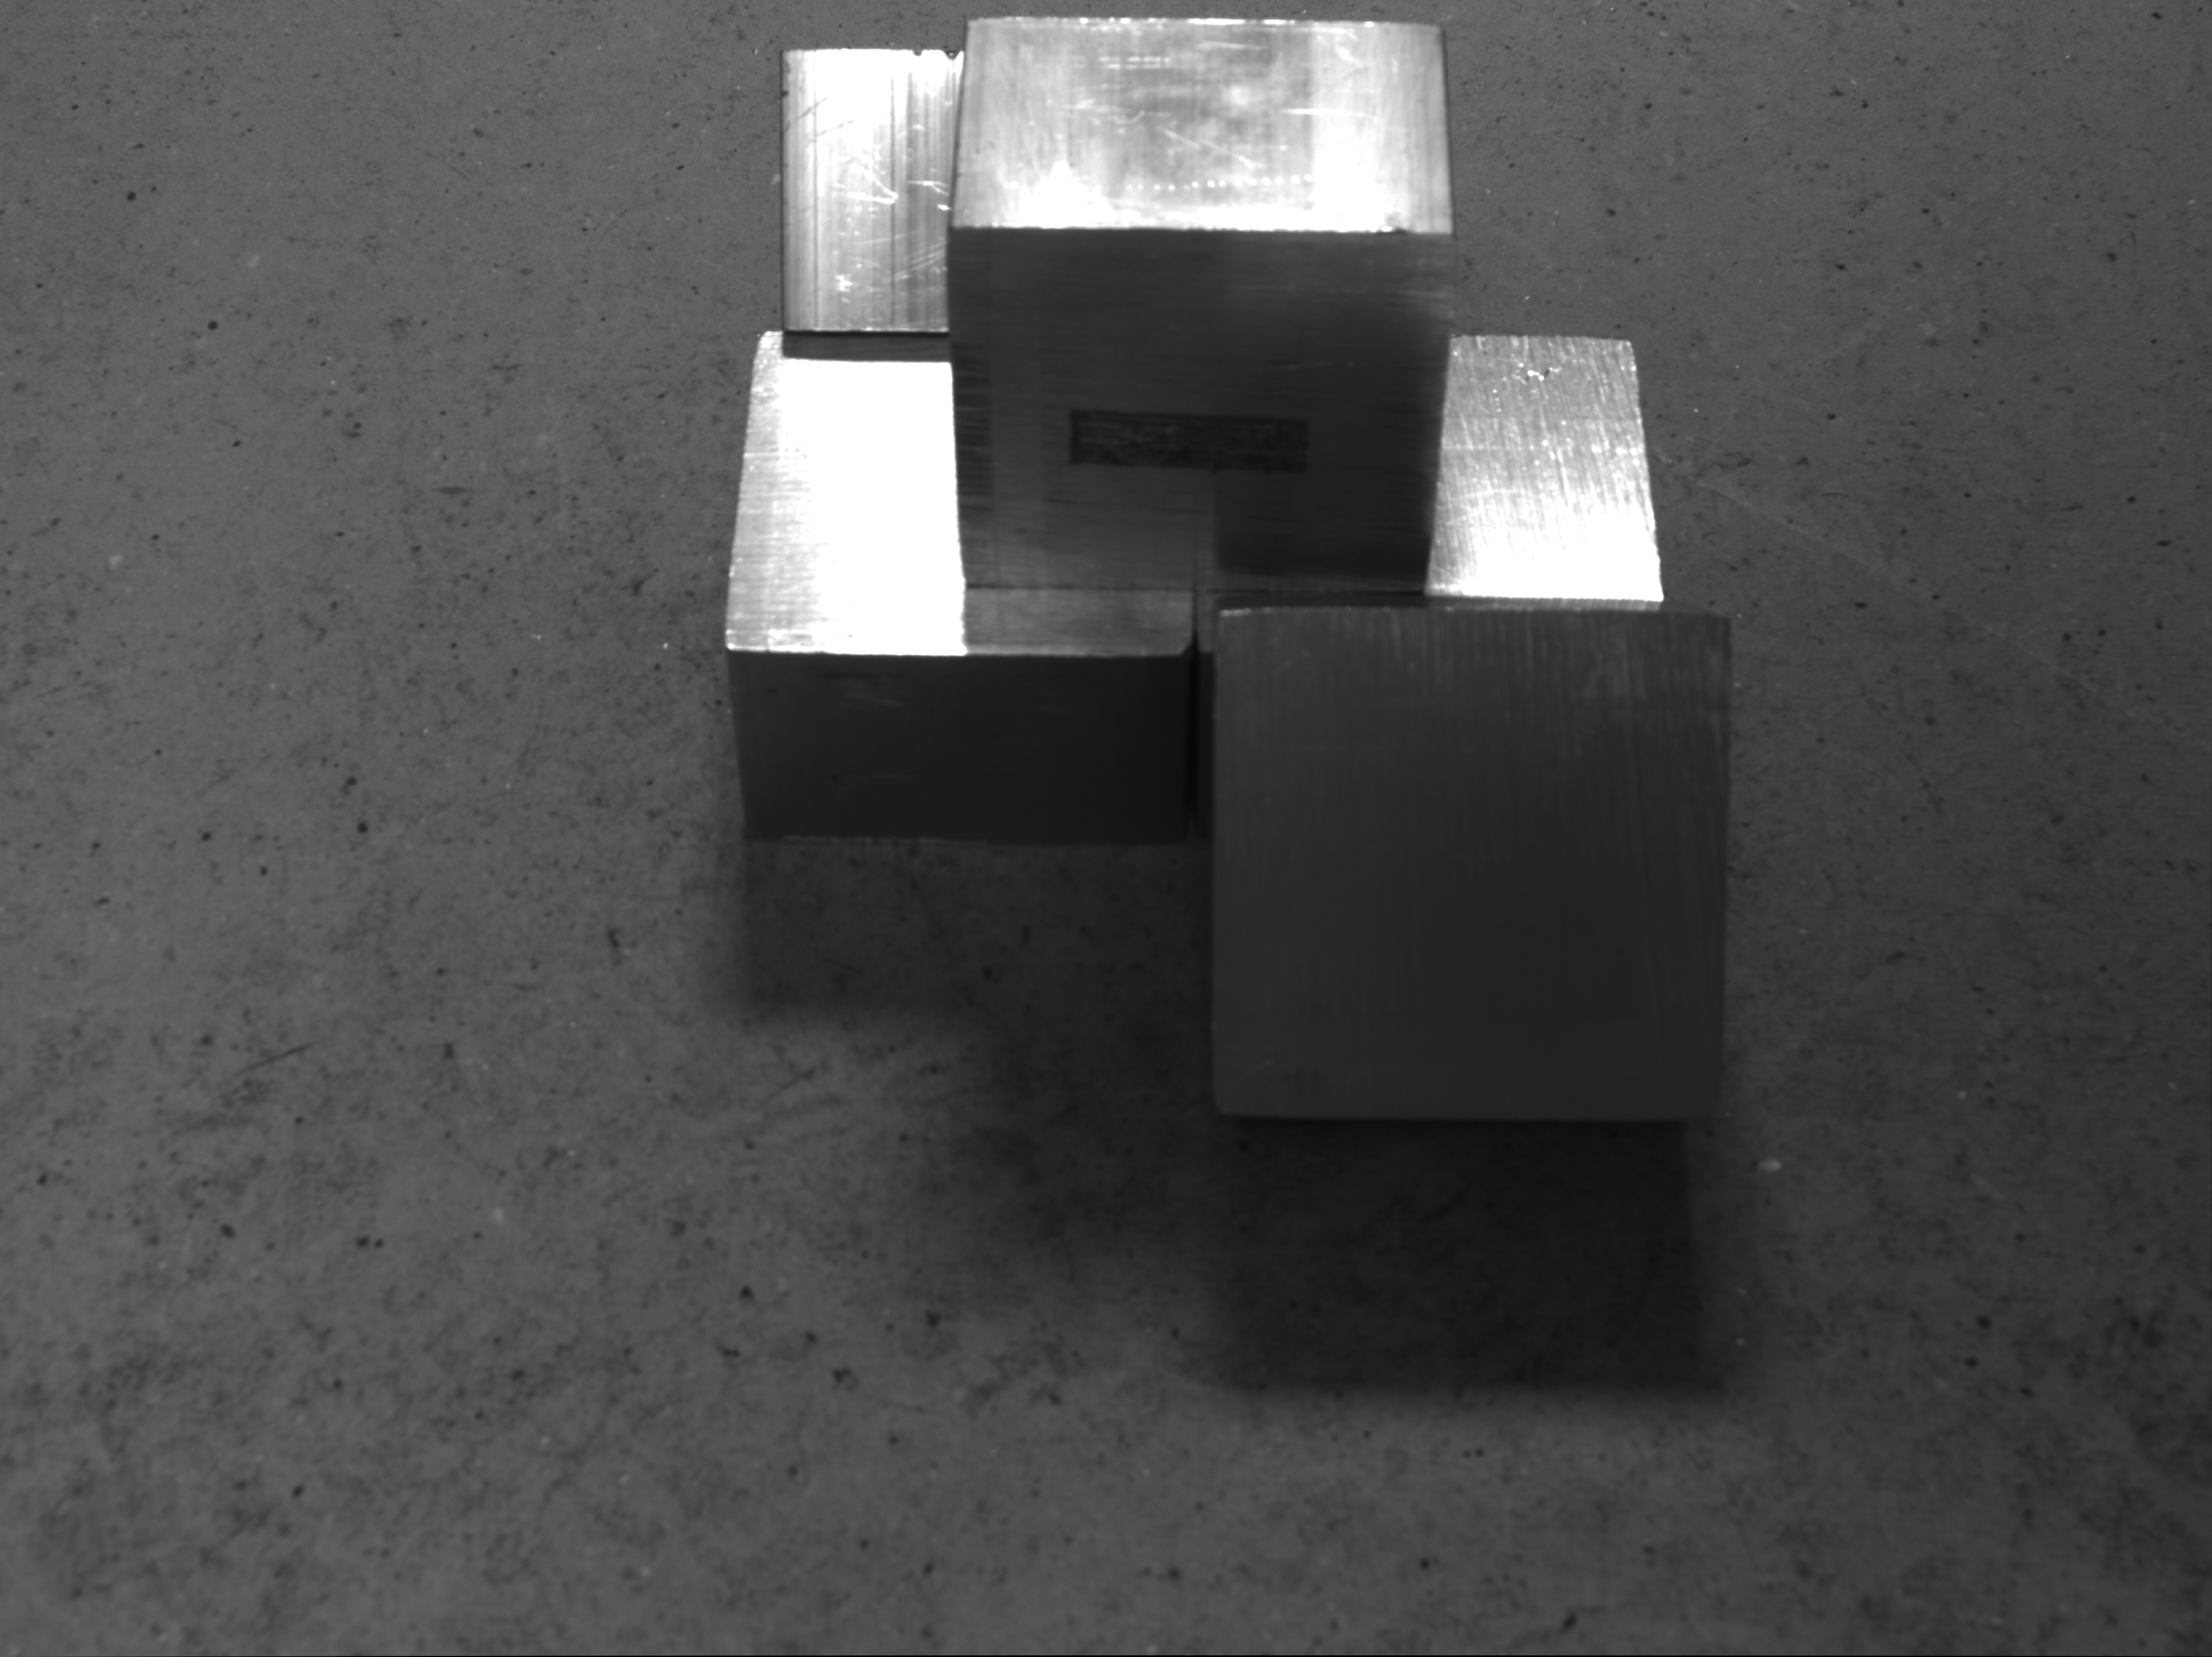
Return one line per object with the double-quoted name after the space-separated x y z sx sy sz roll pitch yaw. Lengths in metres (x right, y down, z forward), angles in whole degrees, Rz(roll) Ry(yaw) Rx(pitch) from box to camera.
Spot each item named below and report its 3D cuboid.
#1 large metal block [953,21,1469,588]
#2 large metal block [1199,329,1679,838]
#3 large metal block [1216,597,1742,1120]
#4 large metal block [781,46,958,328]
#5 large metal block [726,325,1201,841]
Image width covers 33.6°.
0.017 -0.087 0.615 0.080 0.080 0.050 1 50 1 "large metal block"
0.057 -0.045 0.661 0.080 0.050 0.080 1 50 1 "large metal block"
0.058 0.003 0.595 0.080 0.080 0.050 1 6 0 "large metal block"
-0.018 -0.120 0.700 0.080 0.050 0.080 0 6 1 "large metal block"
-0.023 -0.045 0.662 0.080 0.050 0.080 1 50 1 "large metal block"
